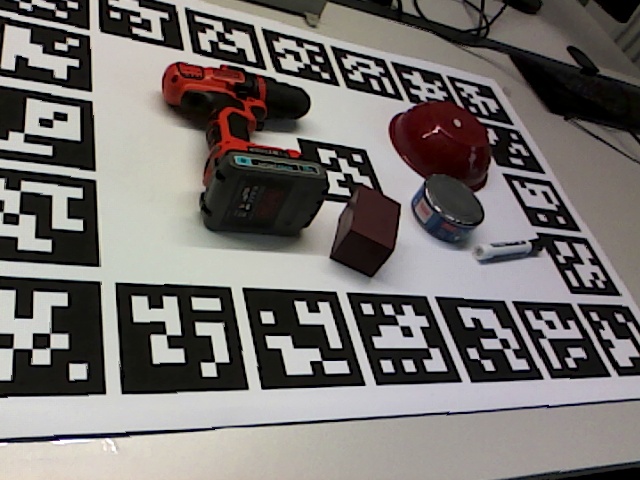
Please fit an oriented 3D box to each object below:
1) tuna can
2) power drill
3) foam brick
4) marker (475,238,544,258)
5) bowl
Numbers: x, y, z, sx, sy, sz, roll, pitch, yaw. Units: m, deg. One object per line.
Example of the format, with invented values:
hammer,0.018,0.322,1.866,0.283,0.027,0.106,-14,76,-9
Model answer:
tuna can,0.159,-0.041,0.771,0.085,0.034,0.086,19,43,-19
power drill,-0.077,-0.104,0.673,0.183,0.057,0.188,6,46,-32
foam brick,0.049,-0.005,0.666,0.051,0.053,0.078,24,44,-13
marker,0.244,0.010,0.785,0.120,0.020,0.020,-4,56,-35
bowl,0.170,-0.139,0.869,0.161,0.055,0.162,15,39,-13
